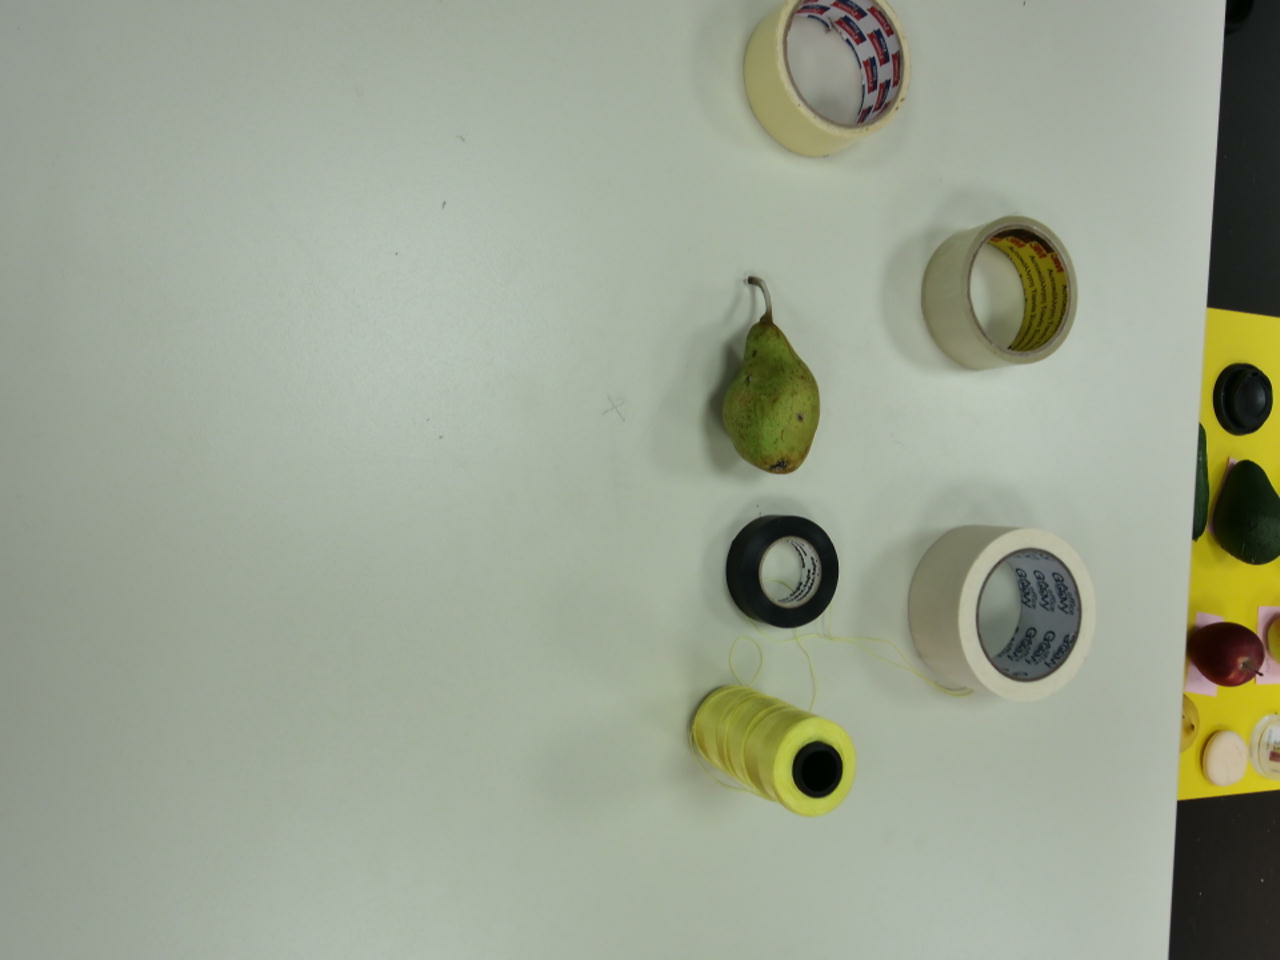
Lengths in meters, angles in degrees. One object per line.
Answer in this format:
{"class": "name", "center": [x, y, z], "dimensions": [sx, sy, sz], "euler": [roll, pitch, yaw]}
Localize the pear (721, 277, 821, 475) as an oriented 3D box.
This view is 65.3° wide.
{"class": "pear", "center": [0.081, -0.059, 0.570], "dimensions": [0.056, 0.056, 0.111], "euler": [20, 82, -21]}
